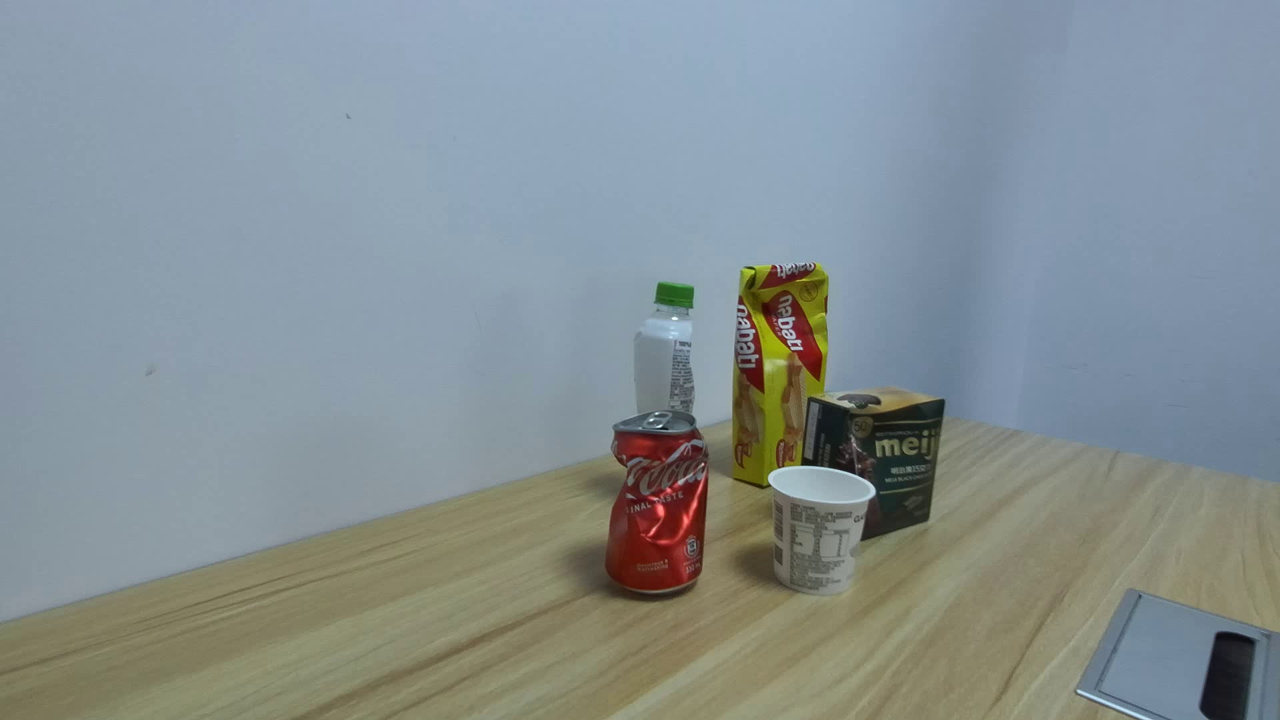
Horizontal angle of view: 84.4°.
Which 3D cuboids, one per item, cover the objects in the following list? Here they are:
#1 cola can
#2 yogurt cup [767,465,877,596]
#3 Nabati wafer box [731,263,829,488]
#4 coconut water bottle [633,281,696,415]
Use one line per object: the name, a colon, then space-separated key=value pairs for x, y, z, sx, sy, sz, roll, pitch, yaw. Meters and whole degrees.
cola can: x=0.012 y=0.092 z=0.467 sx=0.069 sy=0.112 sz=0.065 roll=-2 pitch=12 yaw=-25
yogurt cup: x=0.120 y=0.115 z=0.480 sx=0.072 sy=0.068 sz=0.072 roll=2 pitch=12 yaw=0
Nabati wafer box: x=0.134 y=0.012 z=0.675 sx=0.114 sy=0.205 sz=0.042 roll=-10 pitch=15 yaw=-43
coconut water bottle: x=0.023 y=0.031 z=0.586 sx=0.069 sy=0.186 sz=0.069 roll=2 pitch=6 yaw=0
